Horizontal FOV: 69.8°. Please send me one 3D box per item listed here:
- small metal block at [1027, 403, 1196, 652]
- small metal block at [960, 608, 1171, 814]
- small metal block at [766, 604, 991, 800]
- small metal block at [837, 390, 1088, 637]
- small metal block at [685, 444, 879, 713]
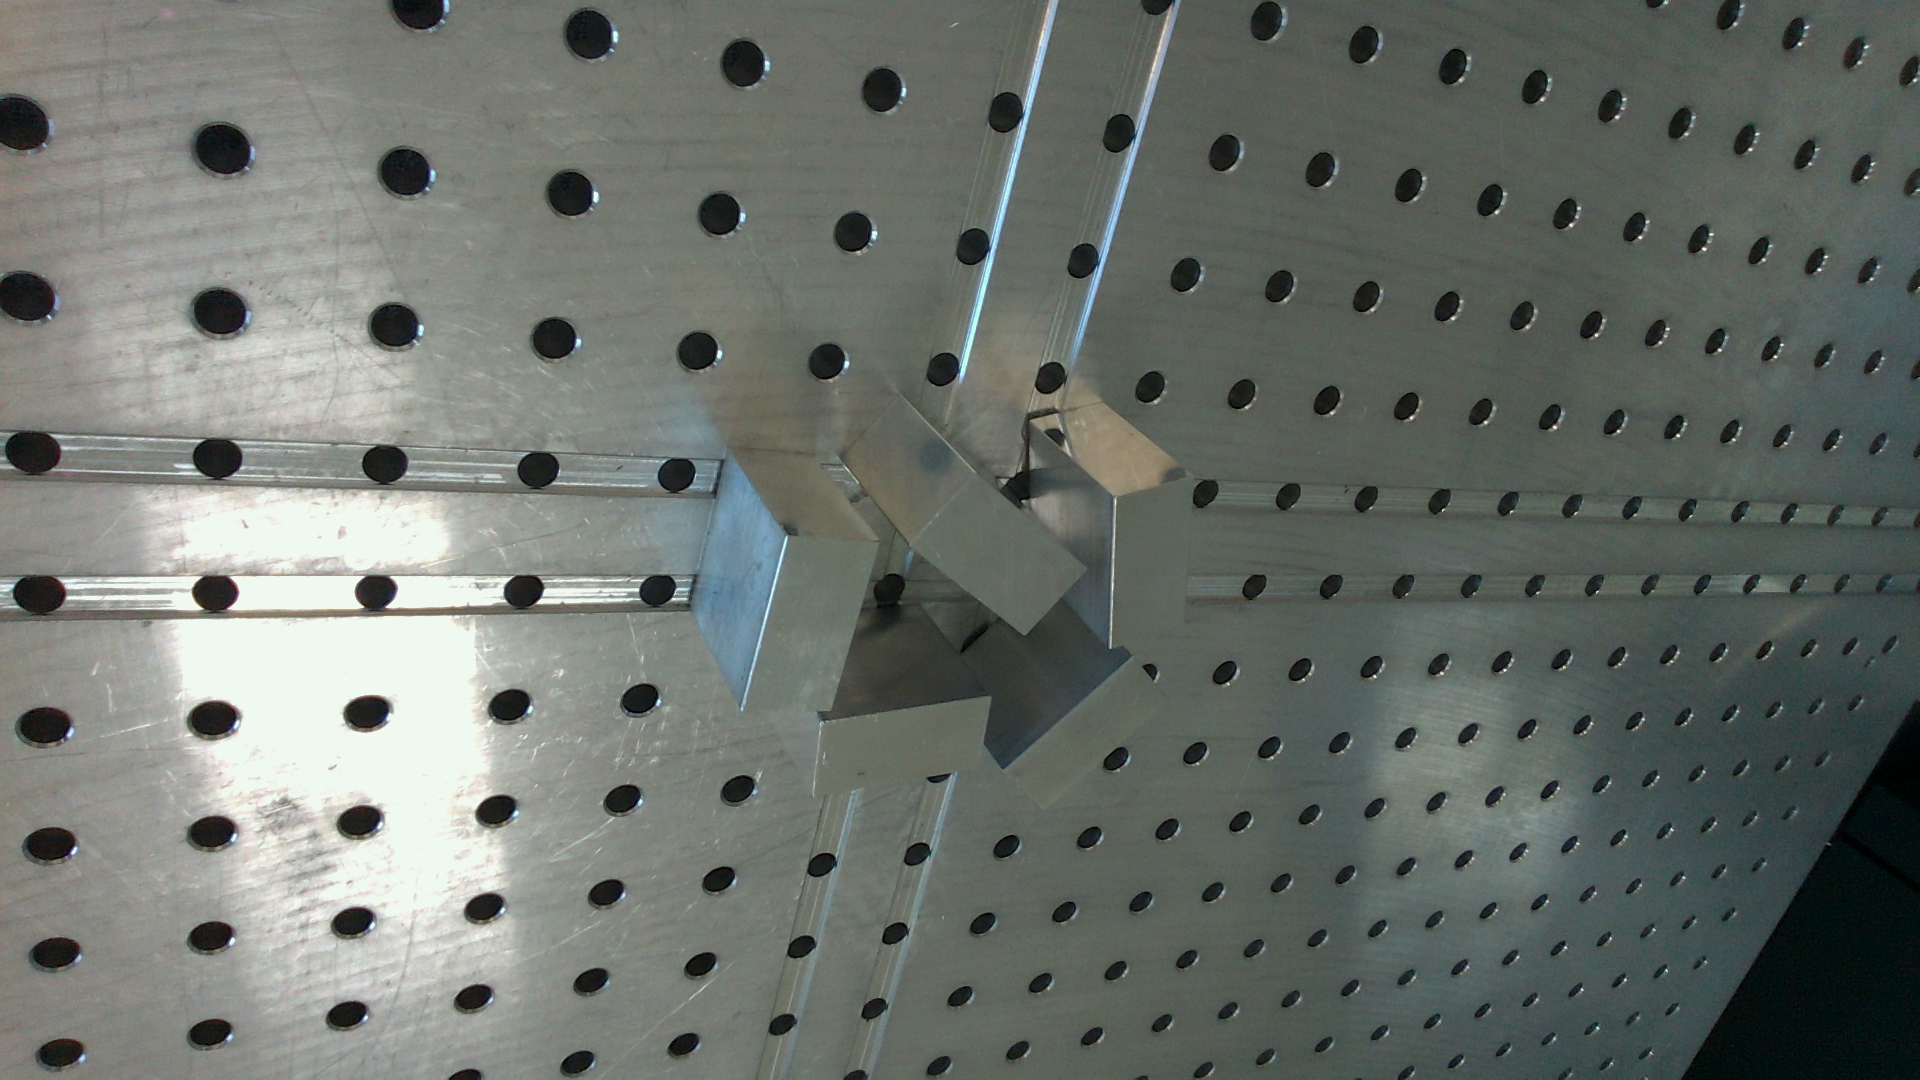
[{"bbox_3d":[0.042,-0.005,0.395,0.025,0.050,0.050,-15,124,-20],"label":"small metal block"},{"bbox_3d":[0.027,0.045,0.418,0.050,0.050,0.025,-41,128,0],"label":"small metal block"},{"bbox_3d":[-0.026,0.044,0.388,0.050,0.050,0.025,-5,121,-26],"label":"small metal block"},{"bbox_3d":[0.000,-0.007,0.371,0.025,0.050,0.050,-47,129,6],"label":"small metal block"},{"bbox_3d":[-0.048,0.009,0.356,0.025,0.050,0.050,3,117,-30],"label":"small metal block"}]
